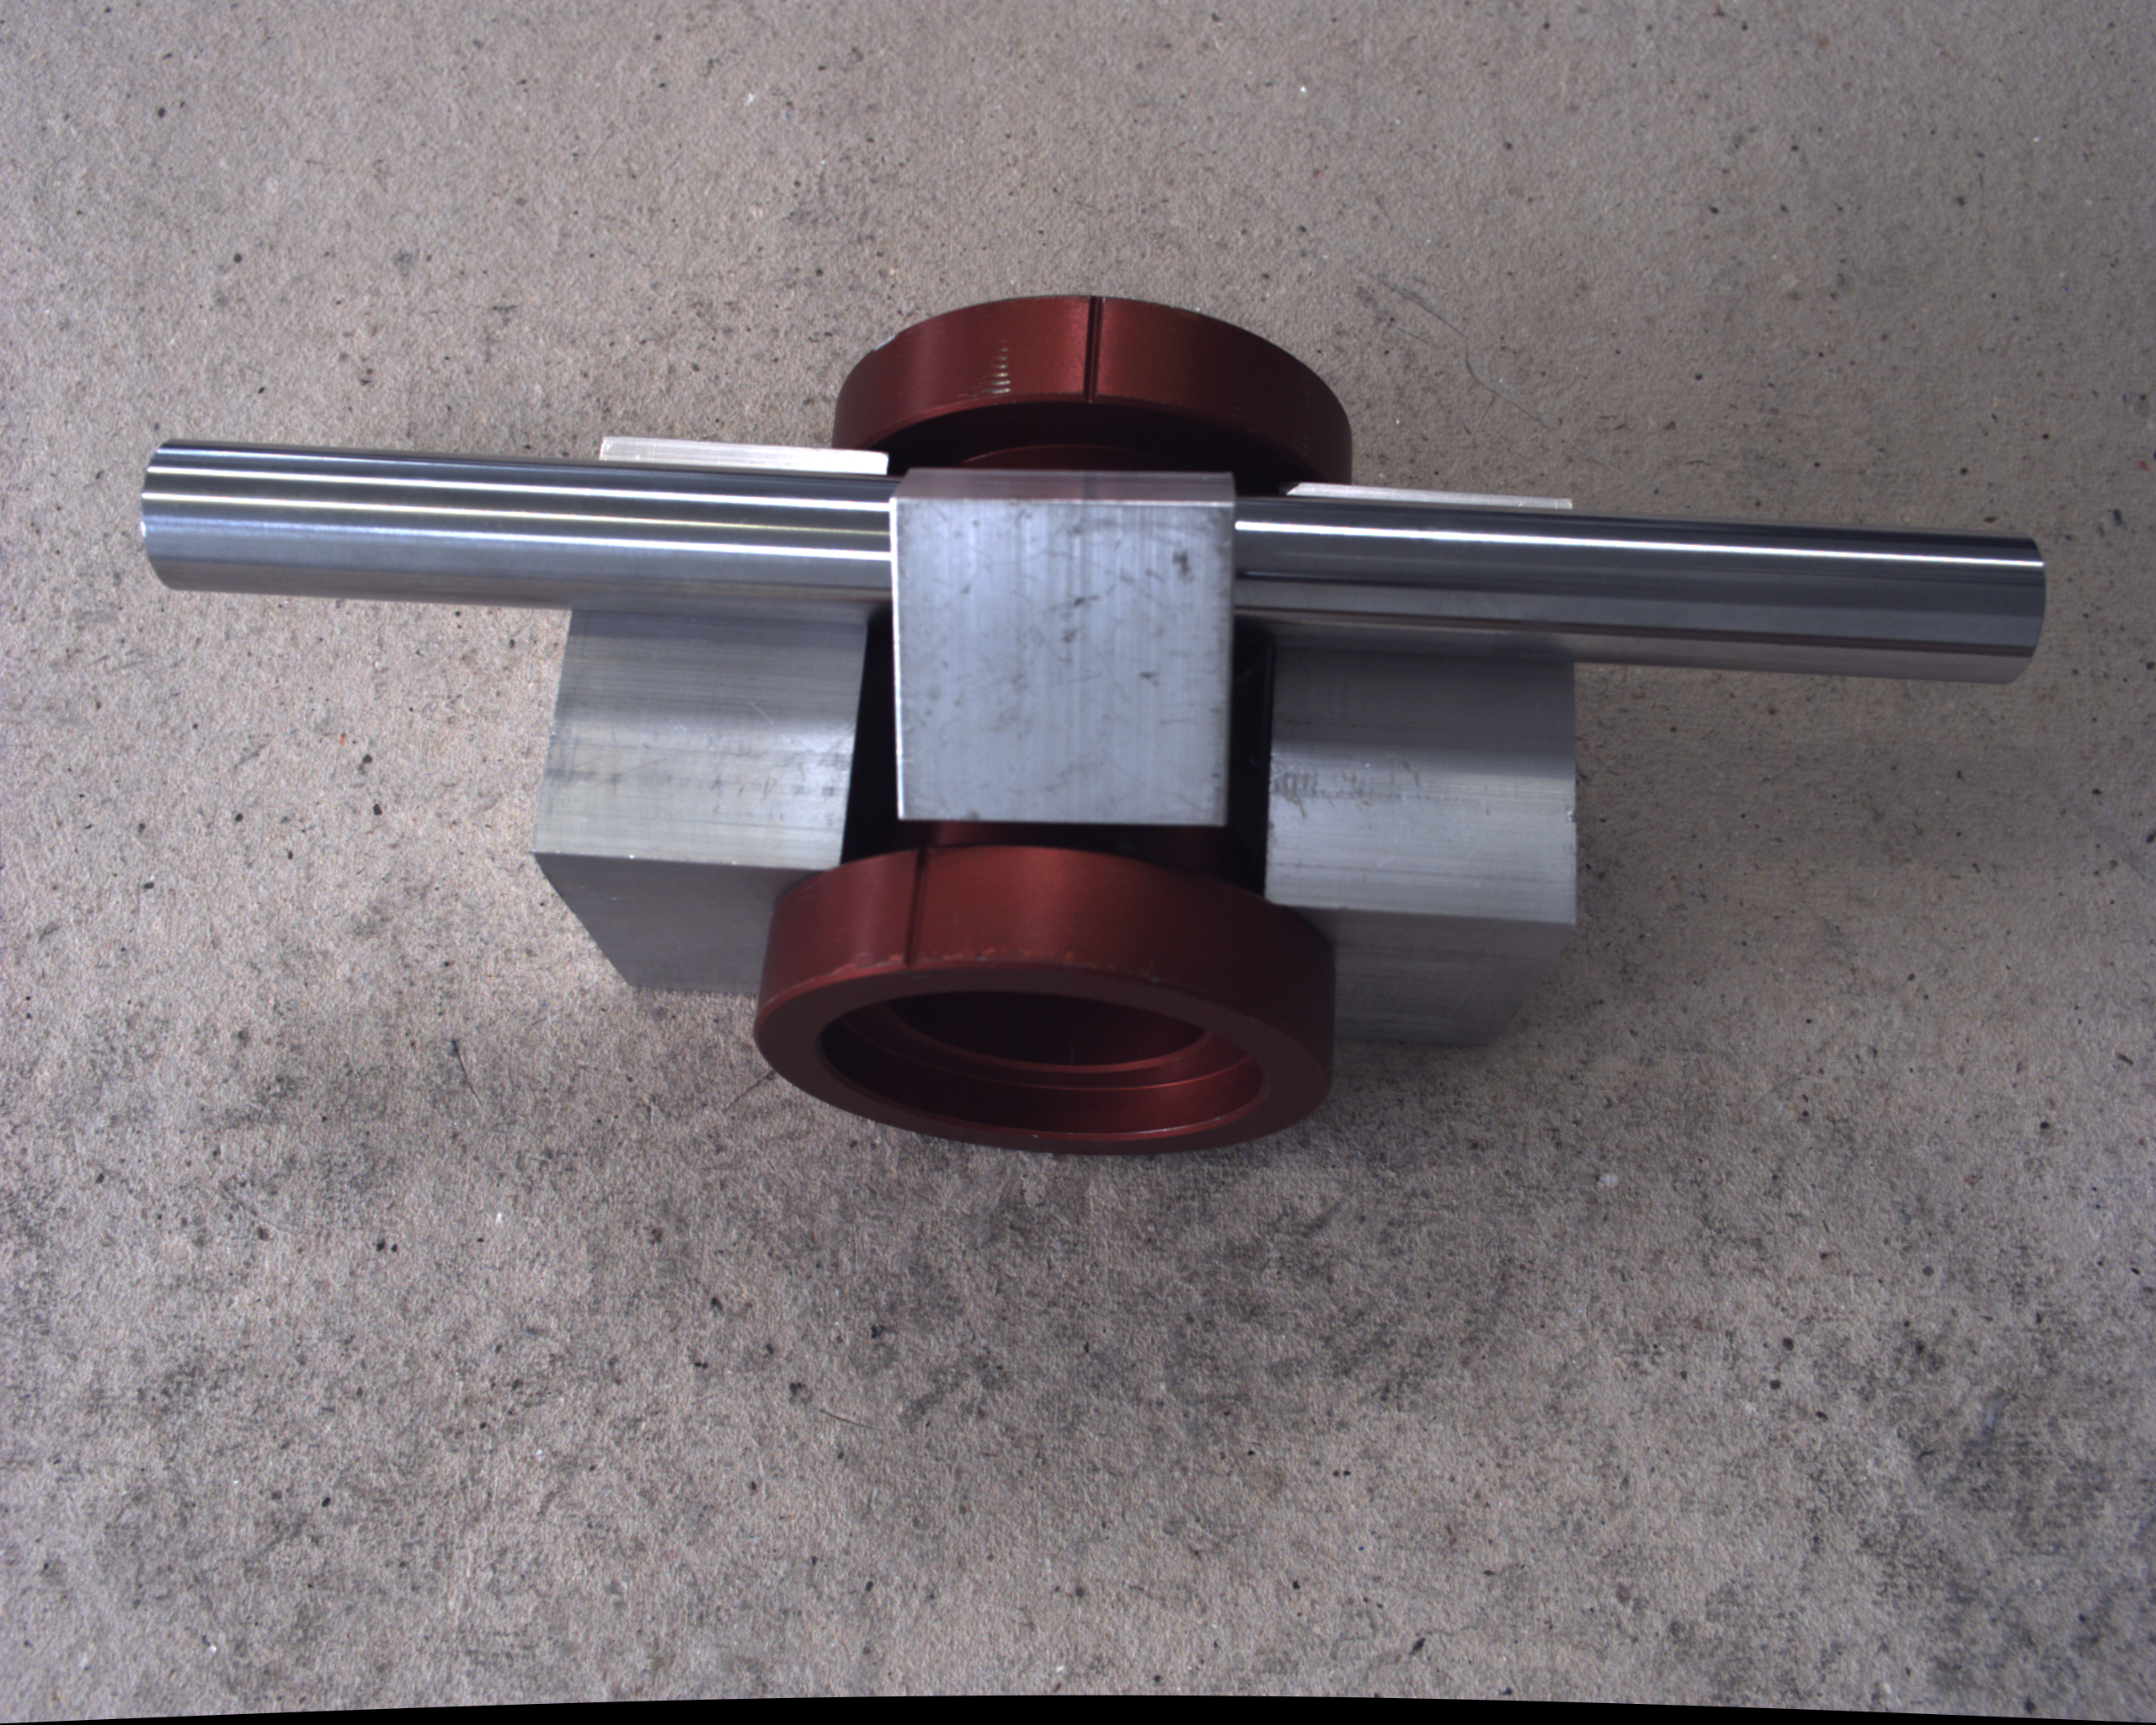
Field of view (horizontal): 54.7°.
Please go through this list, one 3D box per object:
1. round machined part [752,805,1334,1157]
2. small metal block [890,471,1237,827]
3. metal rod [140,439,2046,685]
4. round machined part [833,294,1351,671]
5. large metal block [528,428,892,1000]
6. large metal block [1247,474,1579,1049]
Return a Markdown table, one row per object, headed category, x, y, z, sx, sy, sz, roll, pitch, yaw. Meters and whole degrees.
| category | x | y | z | sx | sy | sz | roll | pitch | yaw |
| --- | --- | --- | --- | --- | --- | --- | --- | --- | --- |
| round machined part | -0.005 | 0.017 | 0.364 | 0.099 | 0.098 | 0.042 | 4 | 65 | 1 |
| small metal block | -0.002 | -0.033 | 0.322 | 0.050 | 0.025 | 0.050 | 1 | 111 | 2 |
| metal rod | 0.002 | -0.049 | 0.342 | 0.302 | 0.025 | 0.025 | 3 | 70 | 1 |
| round machined part | 0.002 | -0.061 | 0.393 | 0.099 | 0.098 | 0.042 | 4 | 71 | 1 |
| large metal block | -0.061 | -0.023 | 0.388 | 0.050 | 0.080 | 0.080 | 4 | 70 | 1 |
| large metal block | 0.058 | -0.015 | 0.386 | 0.050 | 0.080 | 0.080 | 4 | 70 | 1 |
